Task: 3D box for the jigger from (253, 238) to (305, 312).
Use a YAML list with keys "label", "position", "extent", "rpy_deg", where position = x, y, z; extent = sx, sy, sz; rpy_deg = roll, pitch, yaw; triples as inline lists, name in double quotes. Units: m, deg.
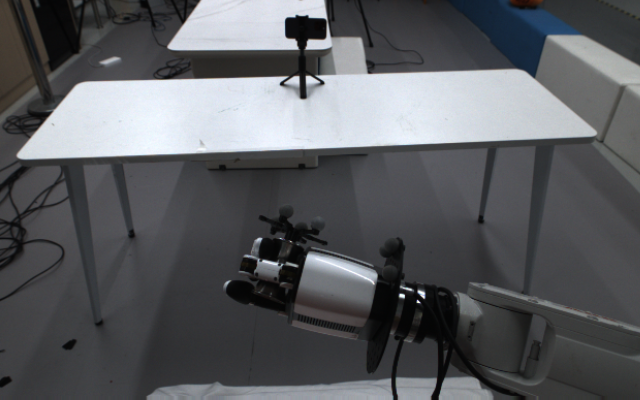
- label: "jigger"
  position: [-0.047, 0.081, 0.568]
  extent: [0.043, 0.043, 0.071]
  rpy_deg: [15, 70, 18]
